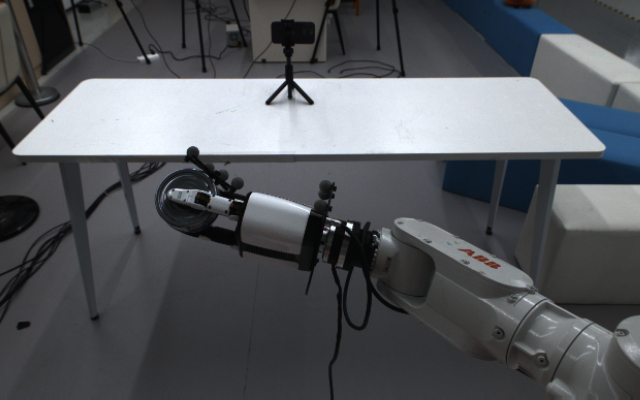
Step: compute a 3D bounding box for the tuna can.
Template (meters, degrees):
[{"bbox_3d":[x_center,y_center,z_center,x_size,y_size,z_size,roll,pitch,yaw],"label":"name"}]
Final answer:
[{"bbox_3d":[-0.179,0.001,0.666,0.085,0.034,0.085,0,73,-1],"label":"tuna can"}]
